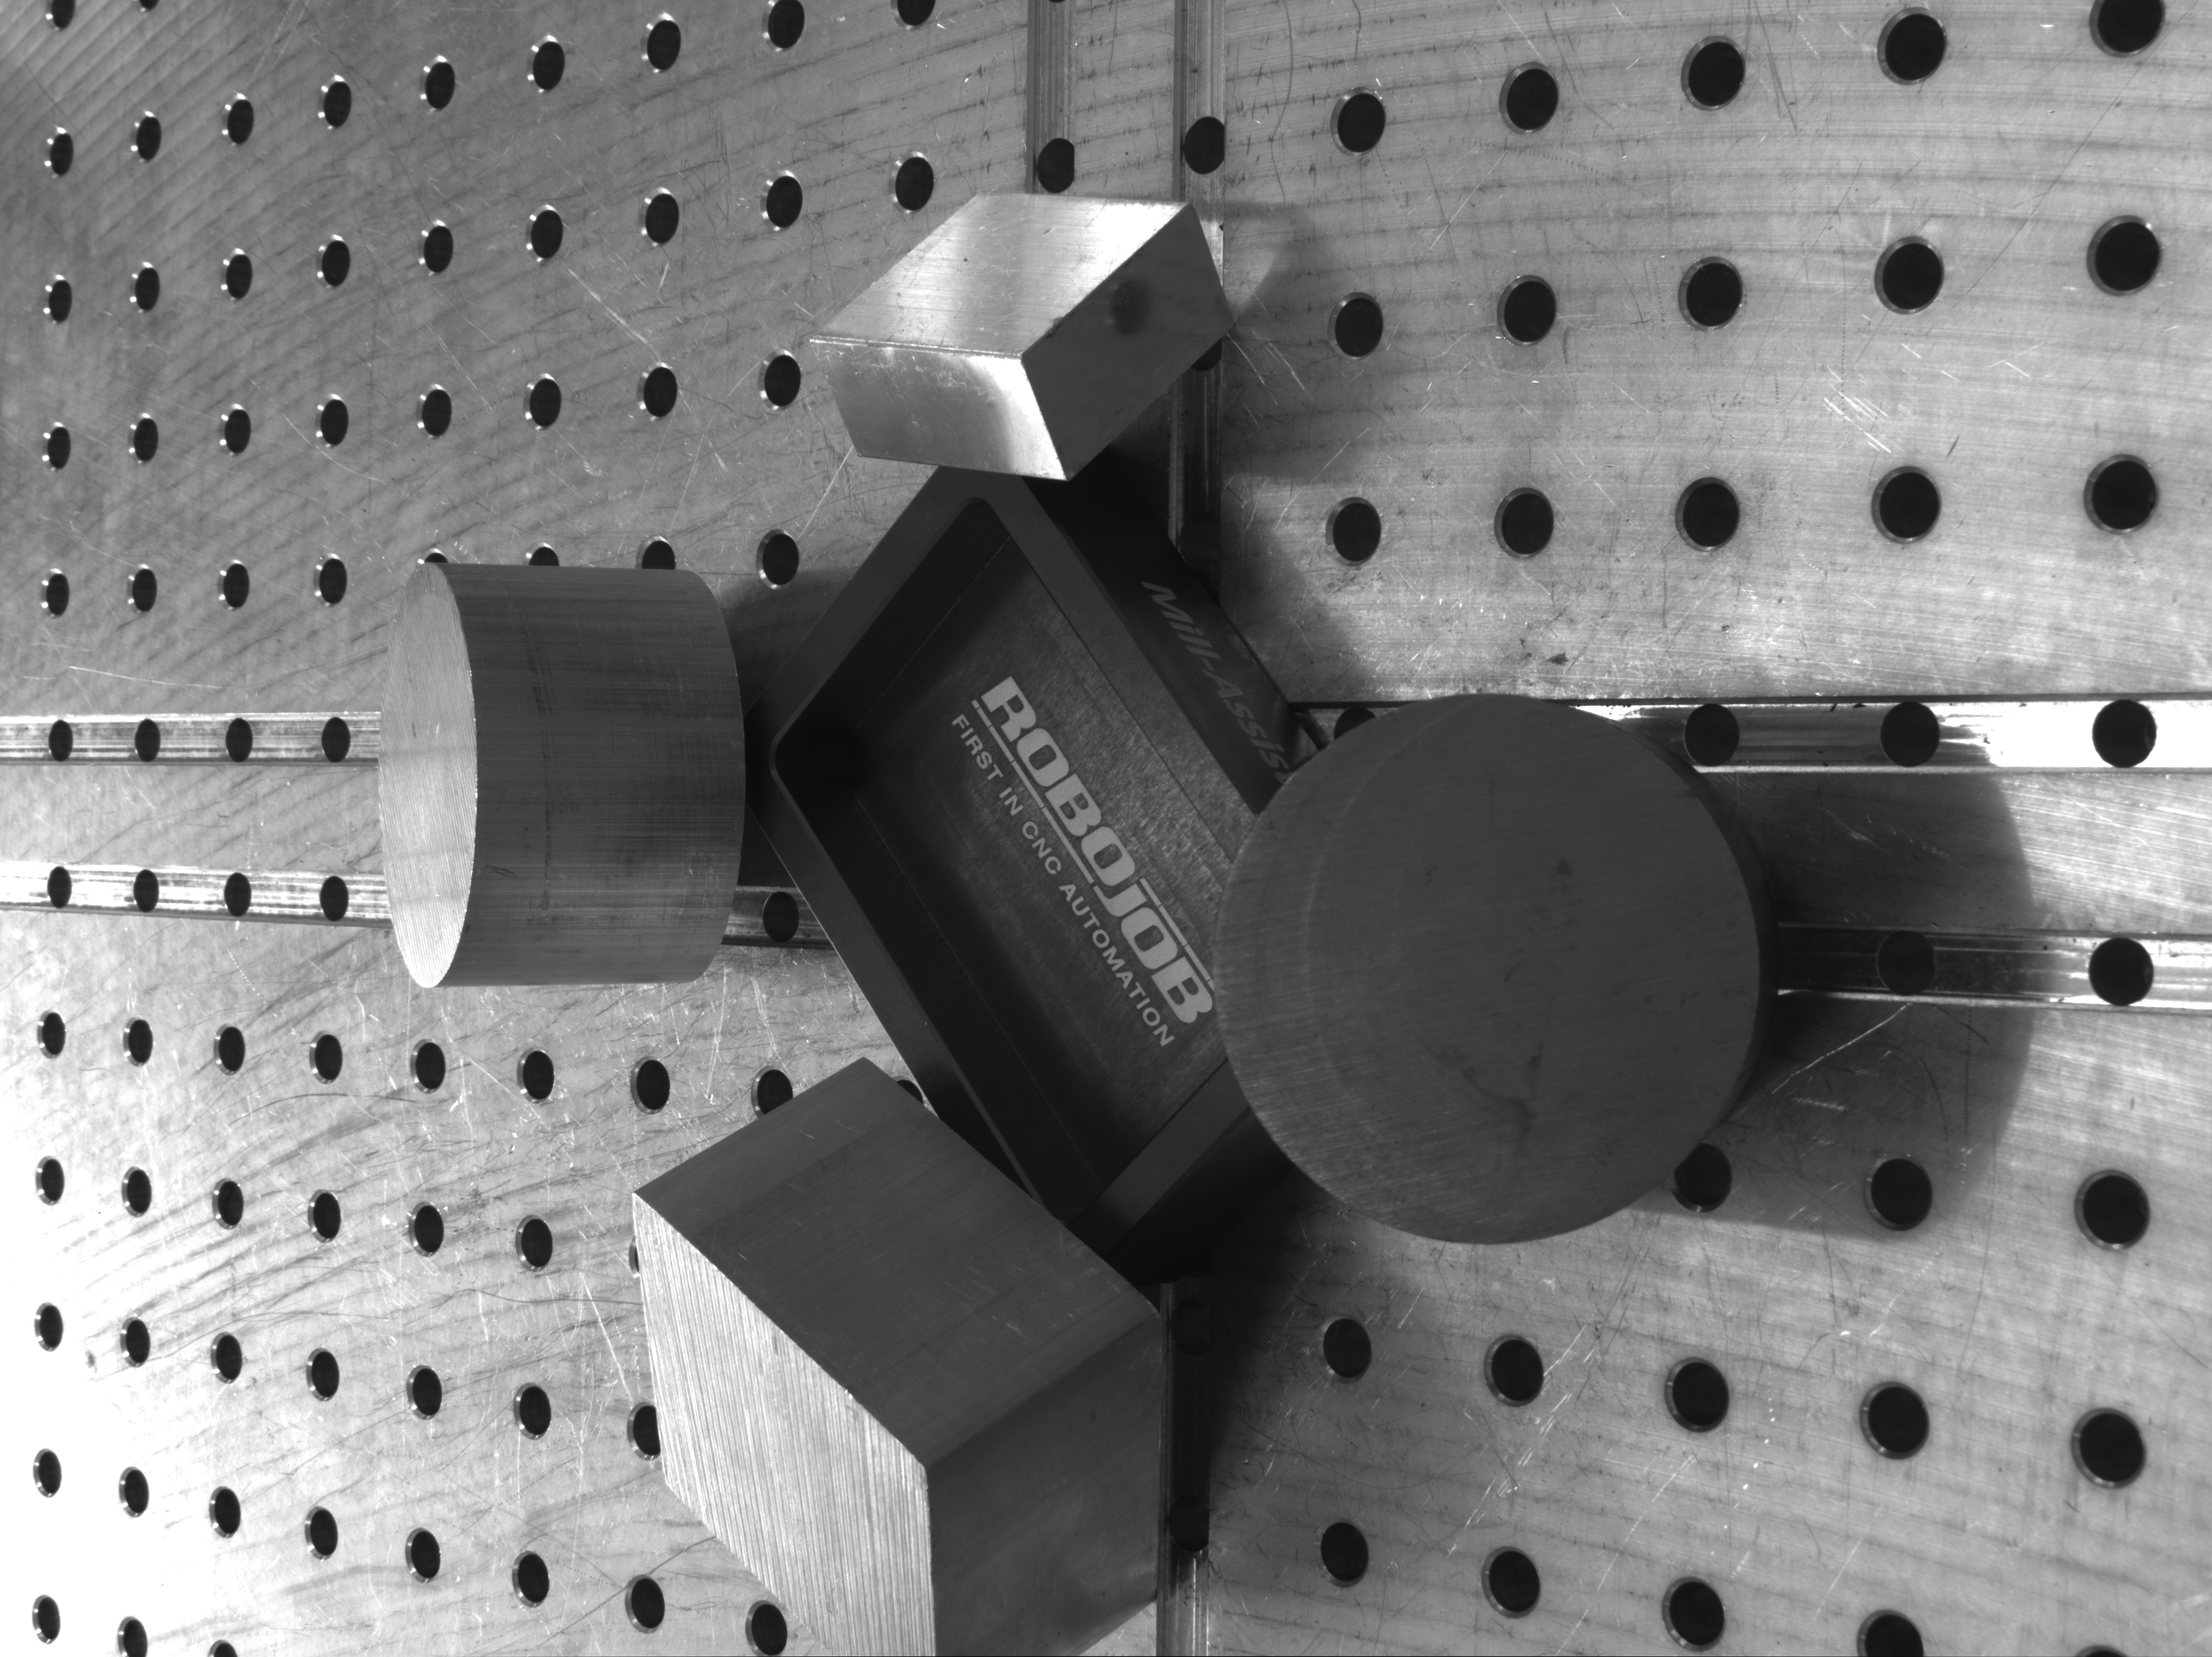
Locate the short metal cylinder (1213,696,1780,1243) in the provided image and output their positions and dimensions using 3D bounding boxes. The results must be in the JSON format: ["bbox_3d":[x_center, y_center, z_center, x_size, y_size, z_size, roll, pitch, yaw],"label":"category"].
[{"bbox_3d":[0.061,0.021,0.561,0.080,0.050,0.080,0,90,14],"label":"short metal cylinder"}]

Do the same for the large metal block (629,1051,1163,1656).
[{"bbox_3d":[-0.036,0.100,0.640,0.080,0.050,0.080,38,144,33],"label":"large metal block"}]

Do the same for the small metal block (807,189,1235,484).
[{"bbox_3d":[-0.015,-0.087,0.641,0.050,0.050,0.025,12,135,40],"label":"small metal block"}]

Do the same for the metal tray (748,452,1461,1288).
[{"bbox_3d":[-0.006,0.005,0.649,0.090,0.030,0.130,-49,61,29],"label":"metal tray"}]

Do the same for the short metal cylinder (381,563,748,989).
[{"bbox_3d":[-0.105,-0.010,0.701,0.080,0.050,0.080,180,90,-66],"label":"short metal cylinder"}]
